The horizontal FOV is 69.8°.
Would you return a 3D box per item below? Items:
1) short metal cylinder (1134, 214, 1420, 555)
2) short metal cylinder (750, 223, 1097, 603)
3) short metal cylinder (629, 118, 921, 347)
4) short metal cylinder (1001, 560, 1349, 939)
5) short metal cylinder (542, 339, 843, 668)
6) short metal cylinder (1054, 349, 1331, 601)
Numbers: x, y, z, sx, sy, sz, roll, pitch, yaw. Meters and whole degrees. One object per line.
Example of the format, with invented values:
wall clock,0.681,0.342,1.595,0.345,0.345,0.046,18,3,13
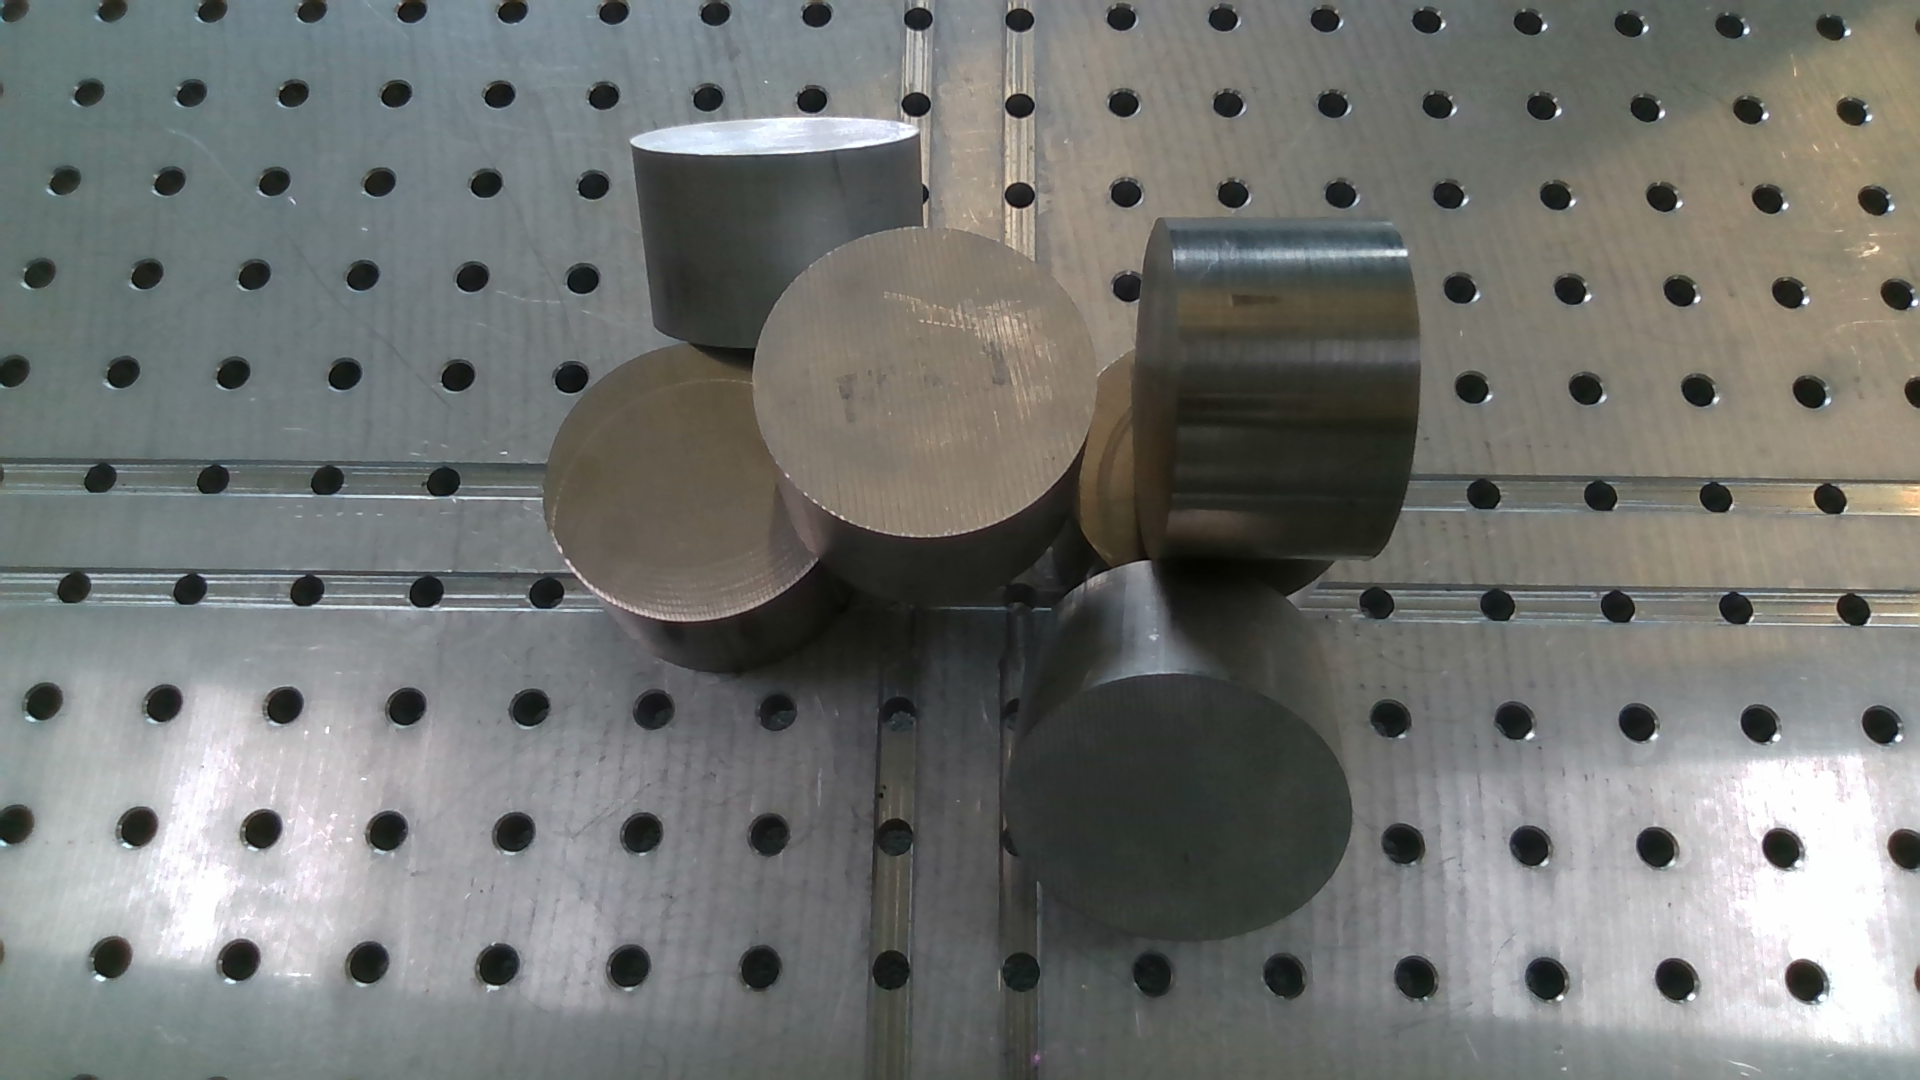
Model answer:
short metal cylinder,0.071,-0.036,0.327,0.050,0.080,0.080,0,70,0
short metal cylinder,-0.008,-0.030,0.341,0.080,0.050,0.080,0,70,0
short metal cylinder,-0.051,-0.091,0.395,0.080,0.080,0.050,-2,114,-1
short metal cylinder,0.053,0.052,0.343,0.080,0.080,0.050,10,30,4
short metal cylinder,-0.070,-0.009,0.387,0.080,0.050,0.080,0,71,1
short metal cylinder,0.067,-0.012,0.388,0.080,0.050,0.080,0,70,0
